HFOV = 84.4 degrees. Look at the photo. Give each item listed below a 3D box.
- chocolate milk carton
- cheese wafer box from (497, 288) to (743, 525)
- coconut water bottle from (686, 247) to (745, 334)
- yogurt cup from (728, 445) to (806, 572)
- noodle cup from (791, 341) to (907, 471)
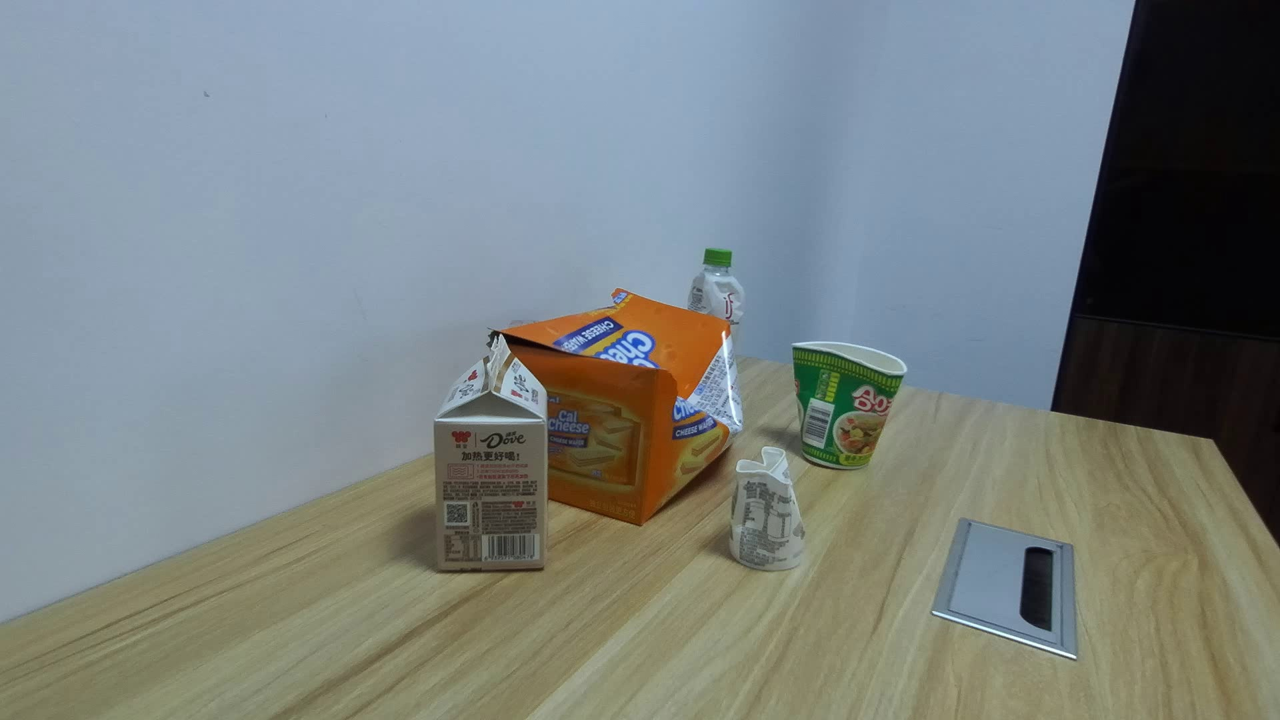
[{"bbox_3d":[-0.100,0.061,0.491,0.074,0.148,0.075,1,15,-7],"label":"chocolate milk carton"},{"bbox_3d":[0.000,0.029,0.648,0.190,0.145,0.220,9,16,25],"label":"cheese wafer box"},{"bbox_3d":[0.083,-0.033,0.806,0.067,0.187,0.067,3,14,0],"label":"coconut water bottle"},{"bbox_3d":[0.091,0.107,0.508,0.055,0.072,0.055,10,17,34],"label":"yogurt cup"},{"bbox_3d":[0.198,0.044,0.689,0.070,0.111,0.114,-3,17,-16],"label":"noodle cup"}]
